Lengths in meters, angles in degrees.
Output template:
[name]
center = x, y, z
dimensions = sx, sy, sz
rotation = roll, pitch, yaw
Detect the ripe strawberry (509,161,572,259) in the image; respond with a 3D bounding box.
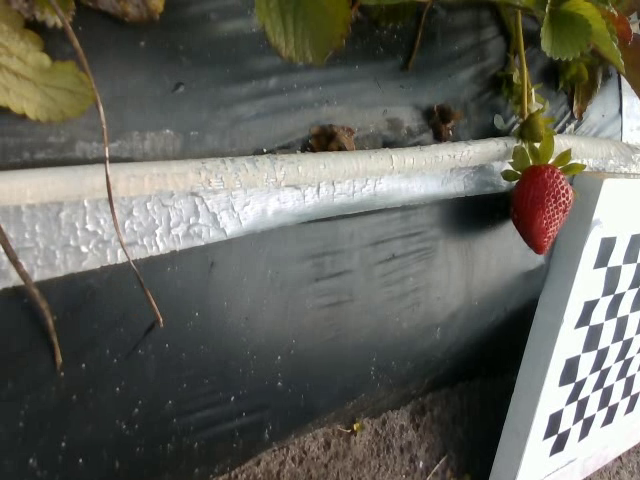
[ripe strawberry]
center = 0.114, -0.015, 0.318
dimensions = 0.030, 0.053, 0.048
rotation = -2, -34, 33
